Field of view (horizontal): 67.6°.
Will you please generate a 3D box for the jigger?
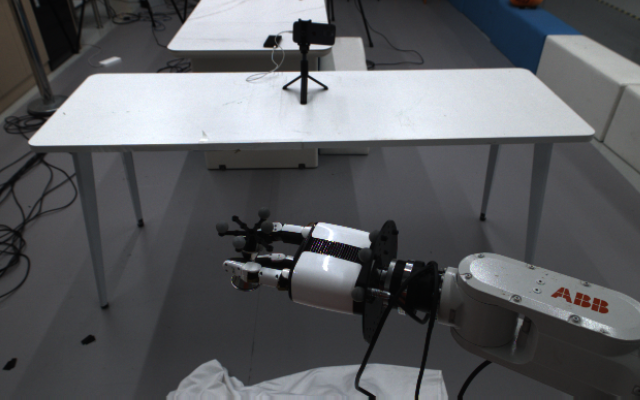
[{"bbox_3d":[-0.101,0.088,0.681,0.043,0.071,0.043,9,30,-5],"label":"jigger"}]
